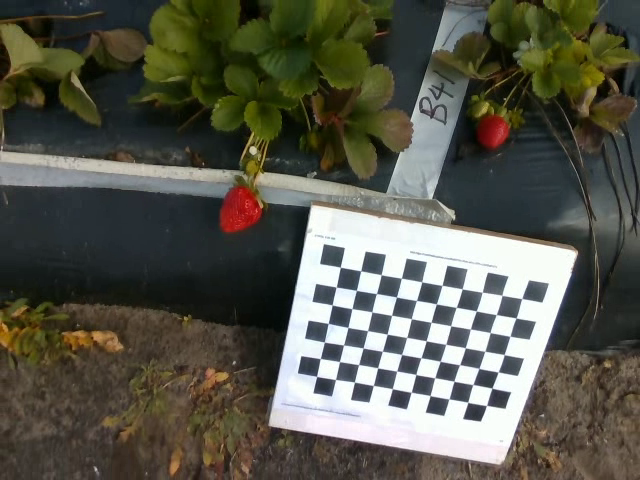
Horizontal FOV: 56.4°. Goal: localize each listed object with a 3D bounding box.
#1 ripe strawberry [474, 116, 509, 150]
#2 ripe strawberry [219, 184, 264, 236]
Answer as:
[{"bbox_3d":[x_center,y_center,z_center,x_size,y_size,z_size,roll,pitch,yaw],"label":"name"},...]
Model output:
[{"bbox_3d":[0.175,-0.103,0.588,0.037,0.048,0.031,23,-37,-7],"label":"ripe strawberry"},{"bbox_3d":[-0.080,-0.028,0.564,0.053,0.048,0.030,-46,15,-12],"label":"ripe strawberry"}]
